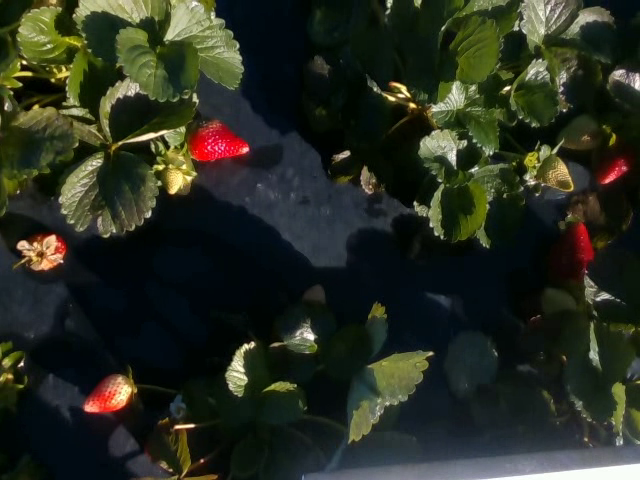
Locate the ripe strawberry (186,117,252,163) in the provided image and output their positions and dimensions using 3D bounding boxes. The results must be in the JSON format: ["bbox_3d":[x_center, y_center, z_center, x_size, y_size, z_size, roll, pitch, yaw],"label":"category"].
[{"bbox_3d":[-0.093,-0.089,0.564,0.064,0.050,0.052,10,27,-3],"label":"ripe strawberry"}]
